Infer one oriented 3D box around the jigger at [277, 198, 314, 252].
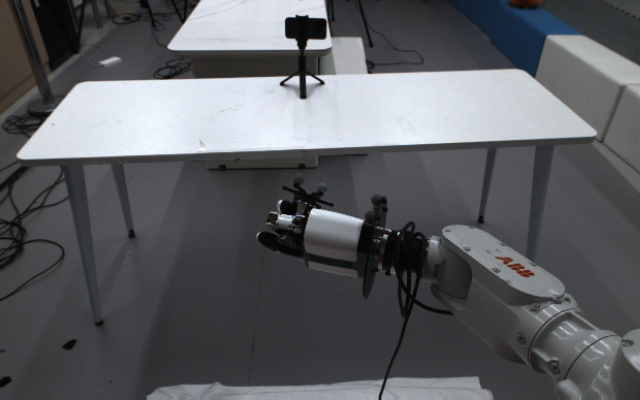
[{"bbox_3d":[-0.037,0.037,0.769,0.043,0.043,0.071,15,71,18],"label":"jigger"}]
